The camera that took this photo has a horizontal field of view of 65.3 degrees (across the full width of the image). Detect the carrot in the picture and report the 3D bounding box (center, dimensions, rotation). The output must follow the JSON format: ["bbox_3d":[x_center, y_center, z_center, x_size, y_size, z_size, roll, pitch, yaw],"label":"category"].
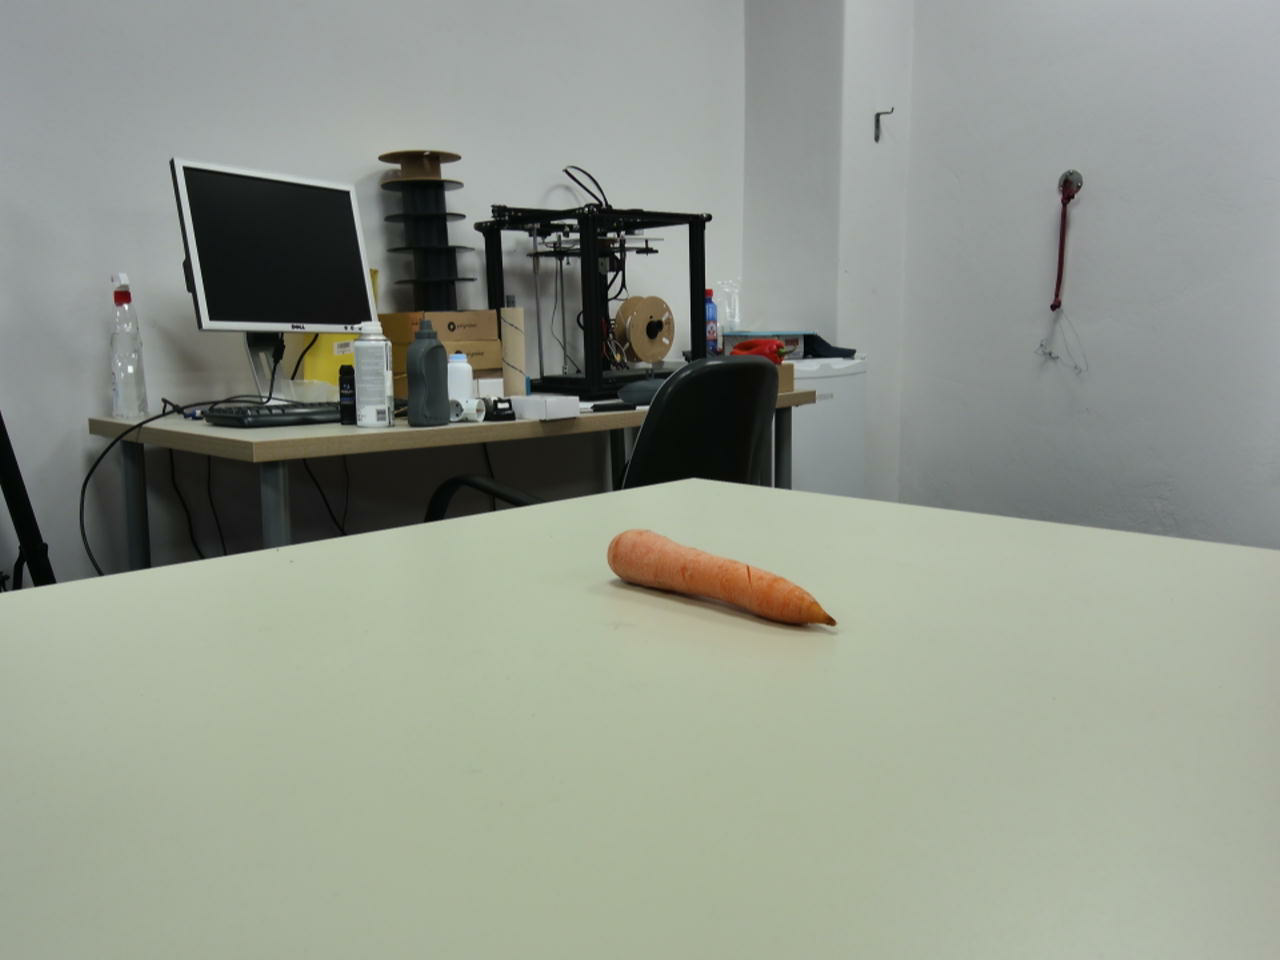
[{"bbox_3d":[0.050,0.063,0.659,0.039,0.041,0.196,-6,9,-43],"label":"carrot"}]
